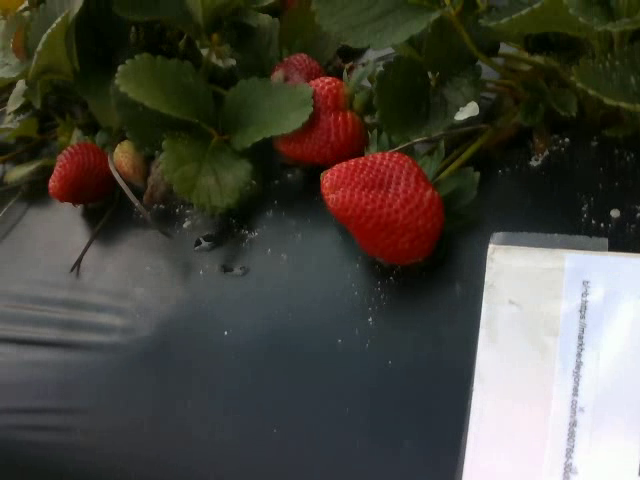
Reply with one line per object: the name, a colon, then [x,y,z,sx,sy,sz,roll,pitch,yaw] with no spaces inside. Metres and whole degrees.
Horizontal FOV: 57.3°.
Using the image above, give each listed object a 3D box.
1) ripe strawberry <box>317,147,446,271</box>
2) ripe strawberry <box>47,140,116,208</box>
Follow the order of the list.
ripe strawberry: [0.022,-0.016,0.260,0.064,0.056,0.057,-4,-34,-51]
ripe strawberry: [-0.149,-0.042,0.359,0.043,0.041,0.052,-18,28,26]
